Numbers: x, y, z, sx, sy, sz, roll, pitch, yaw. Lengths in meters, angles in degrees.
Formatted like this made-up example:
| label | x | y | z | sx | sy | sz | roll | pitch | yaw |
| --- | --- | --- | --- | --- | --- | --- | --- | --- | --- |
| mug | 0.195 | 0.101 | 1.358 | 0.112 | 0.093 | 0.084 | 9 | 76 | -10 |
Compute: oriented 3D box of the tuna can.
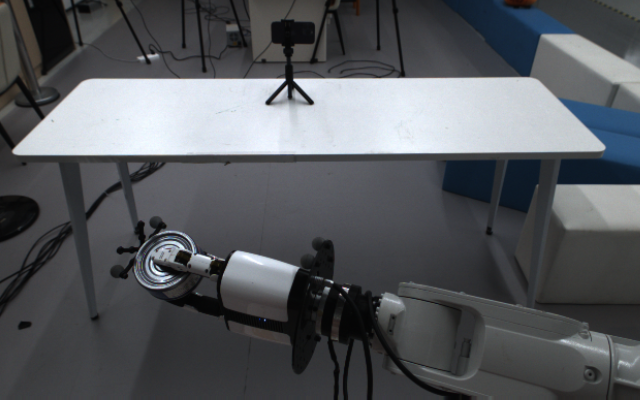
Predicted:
| label | x | y | z | sx | sy | sz | roll | pitch | yaw |
| --- | --- | --- | --- | --- | --- | --- | --- | --- | --- |
| tuna can | -0.190 | 0.082 | 0.621 | 0.085 | 0.034 | 0.085 | -3 | 59 | 6 |
